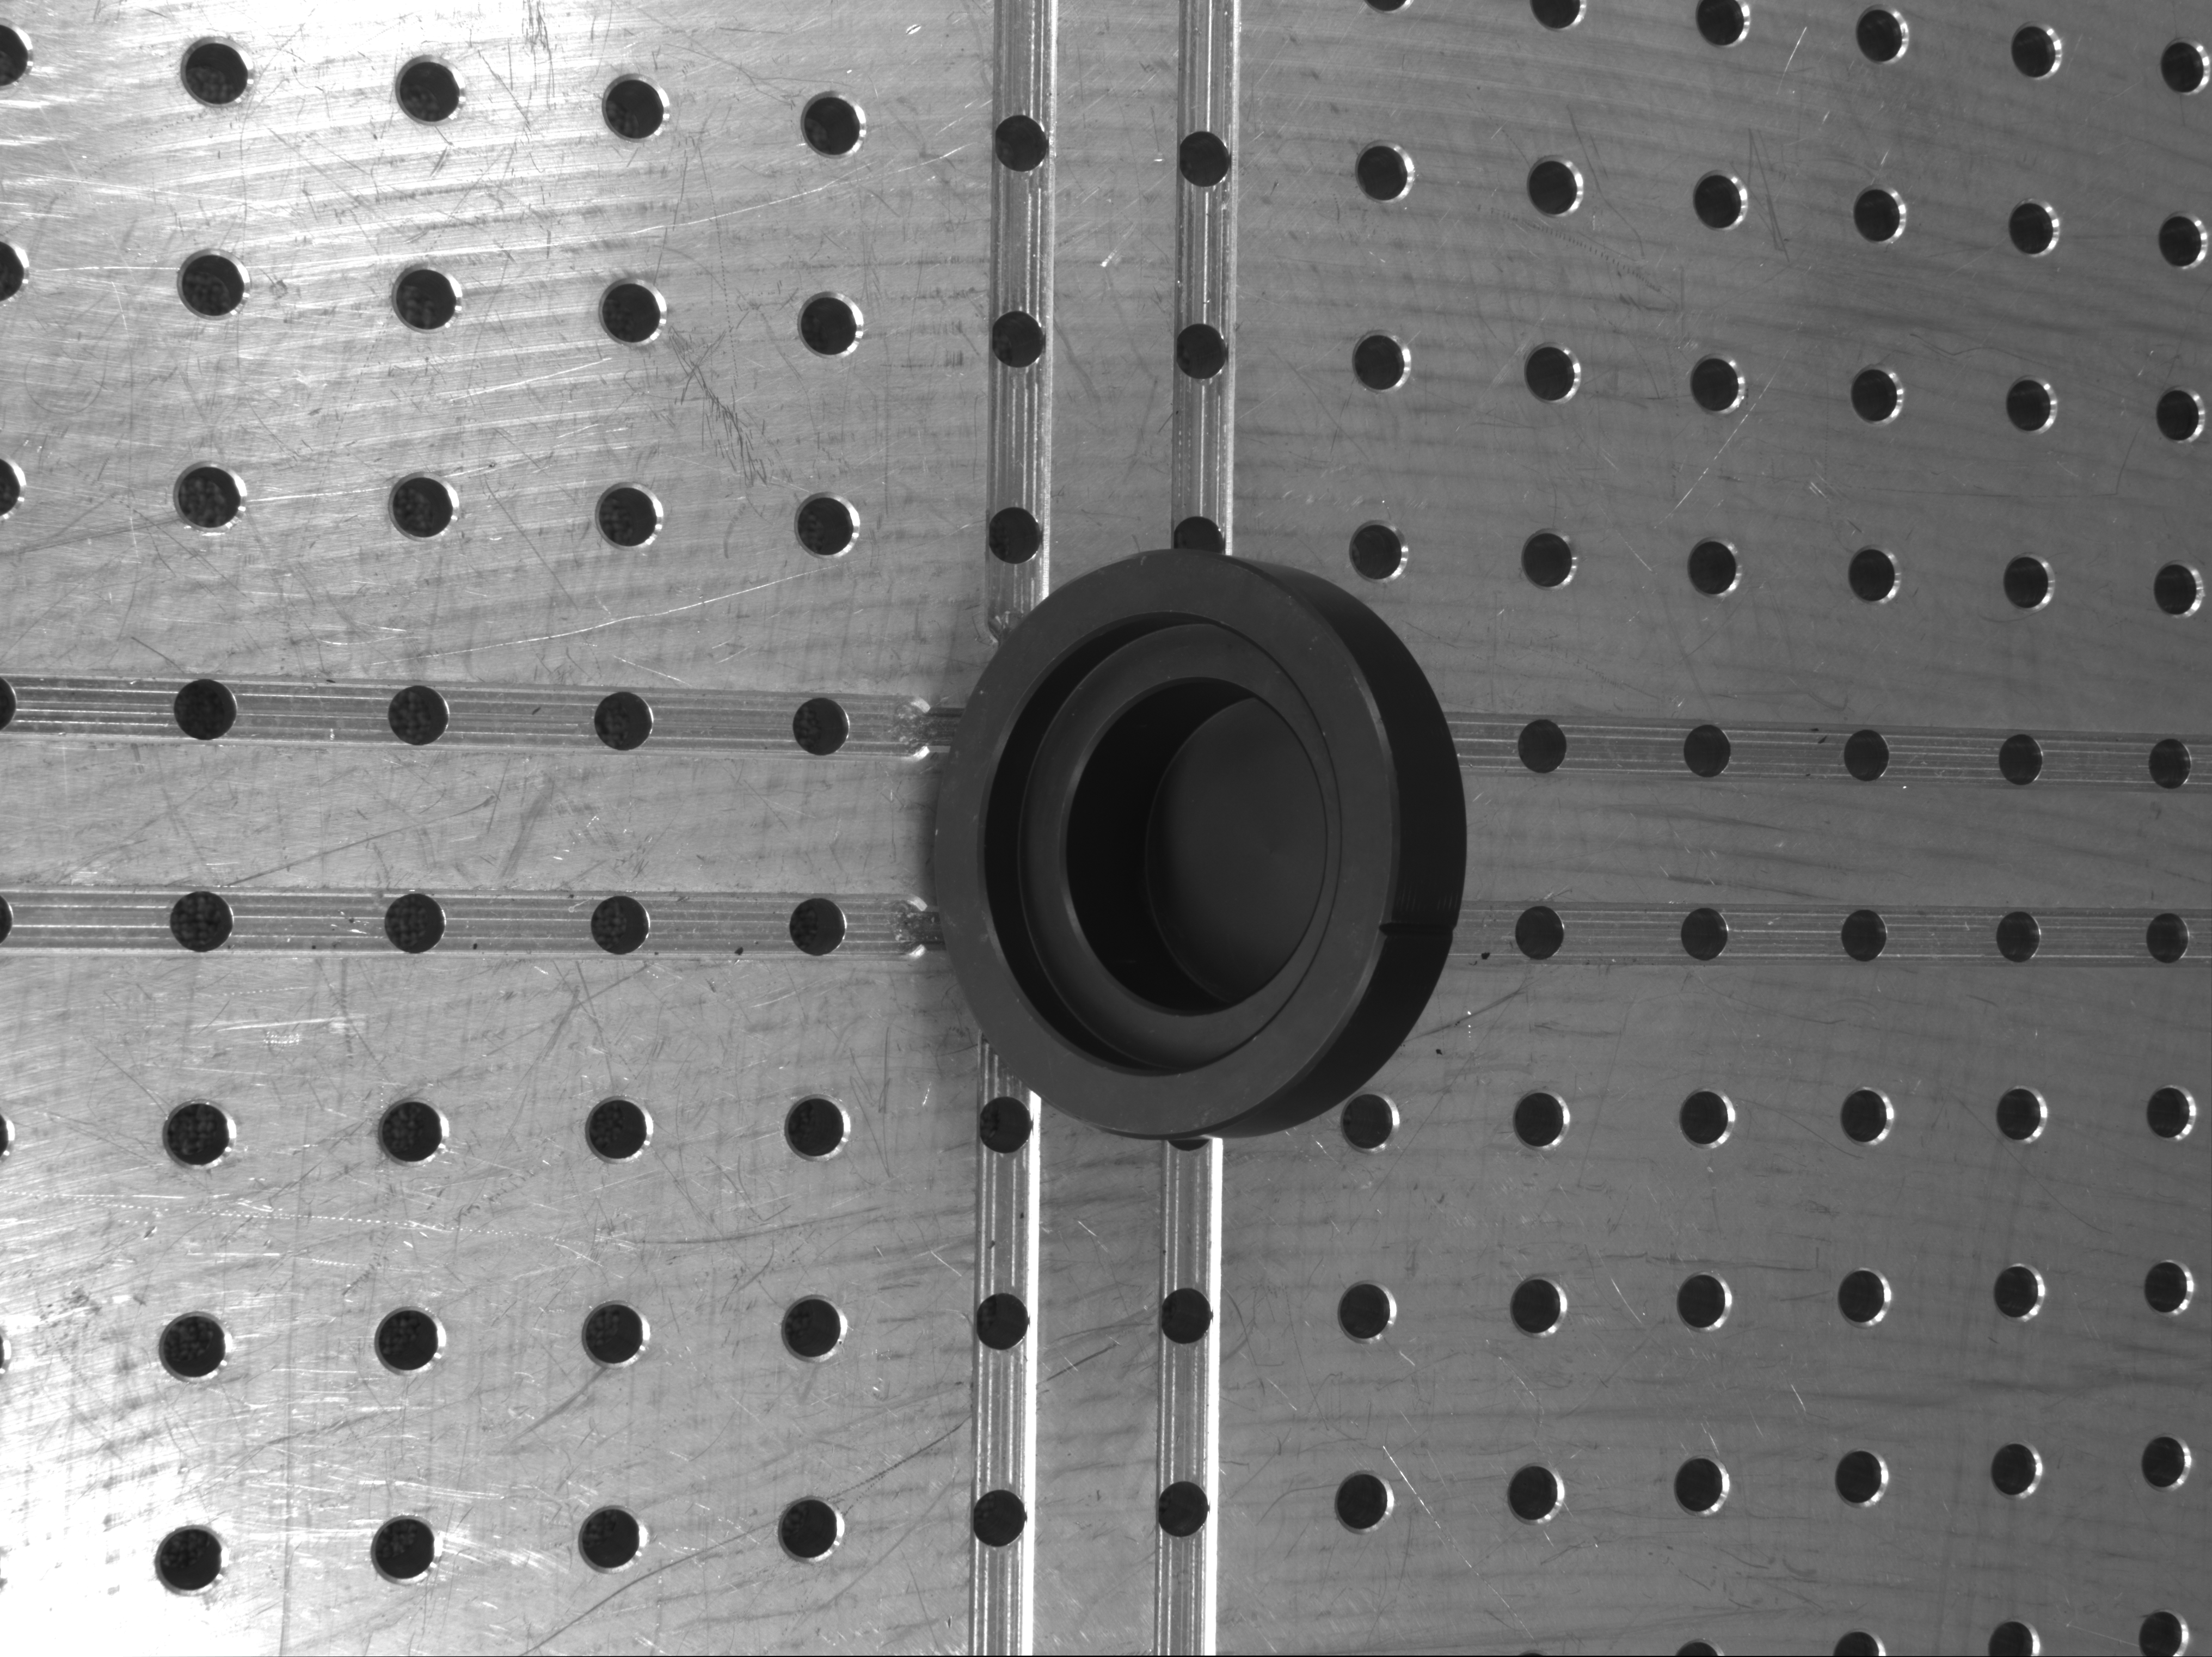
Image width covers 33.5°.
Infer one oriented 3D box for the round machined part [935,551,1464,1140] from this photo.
[{"bbox_3d":[0.021,0.004,0.625,0.042,0.098,0.098,5,88,-51],"label":"round machined part"}]
